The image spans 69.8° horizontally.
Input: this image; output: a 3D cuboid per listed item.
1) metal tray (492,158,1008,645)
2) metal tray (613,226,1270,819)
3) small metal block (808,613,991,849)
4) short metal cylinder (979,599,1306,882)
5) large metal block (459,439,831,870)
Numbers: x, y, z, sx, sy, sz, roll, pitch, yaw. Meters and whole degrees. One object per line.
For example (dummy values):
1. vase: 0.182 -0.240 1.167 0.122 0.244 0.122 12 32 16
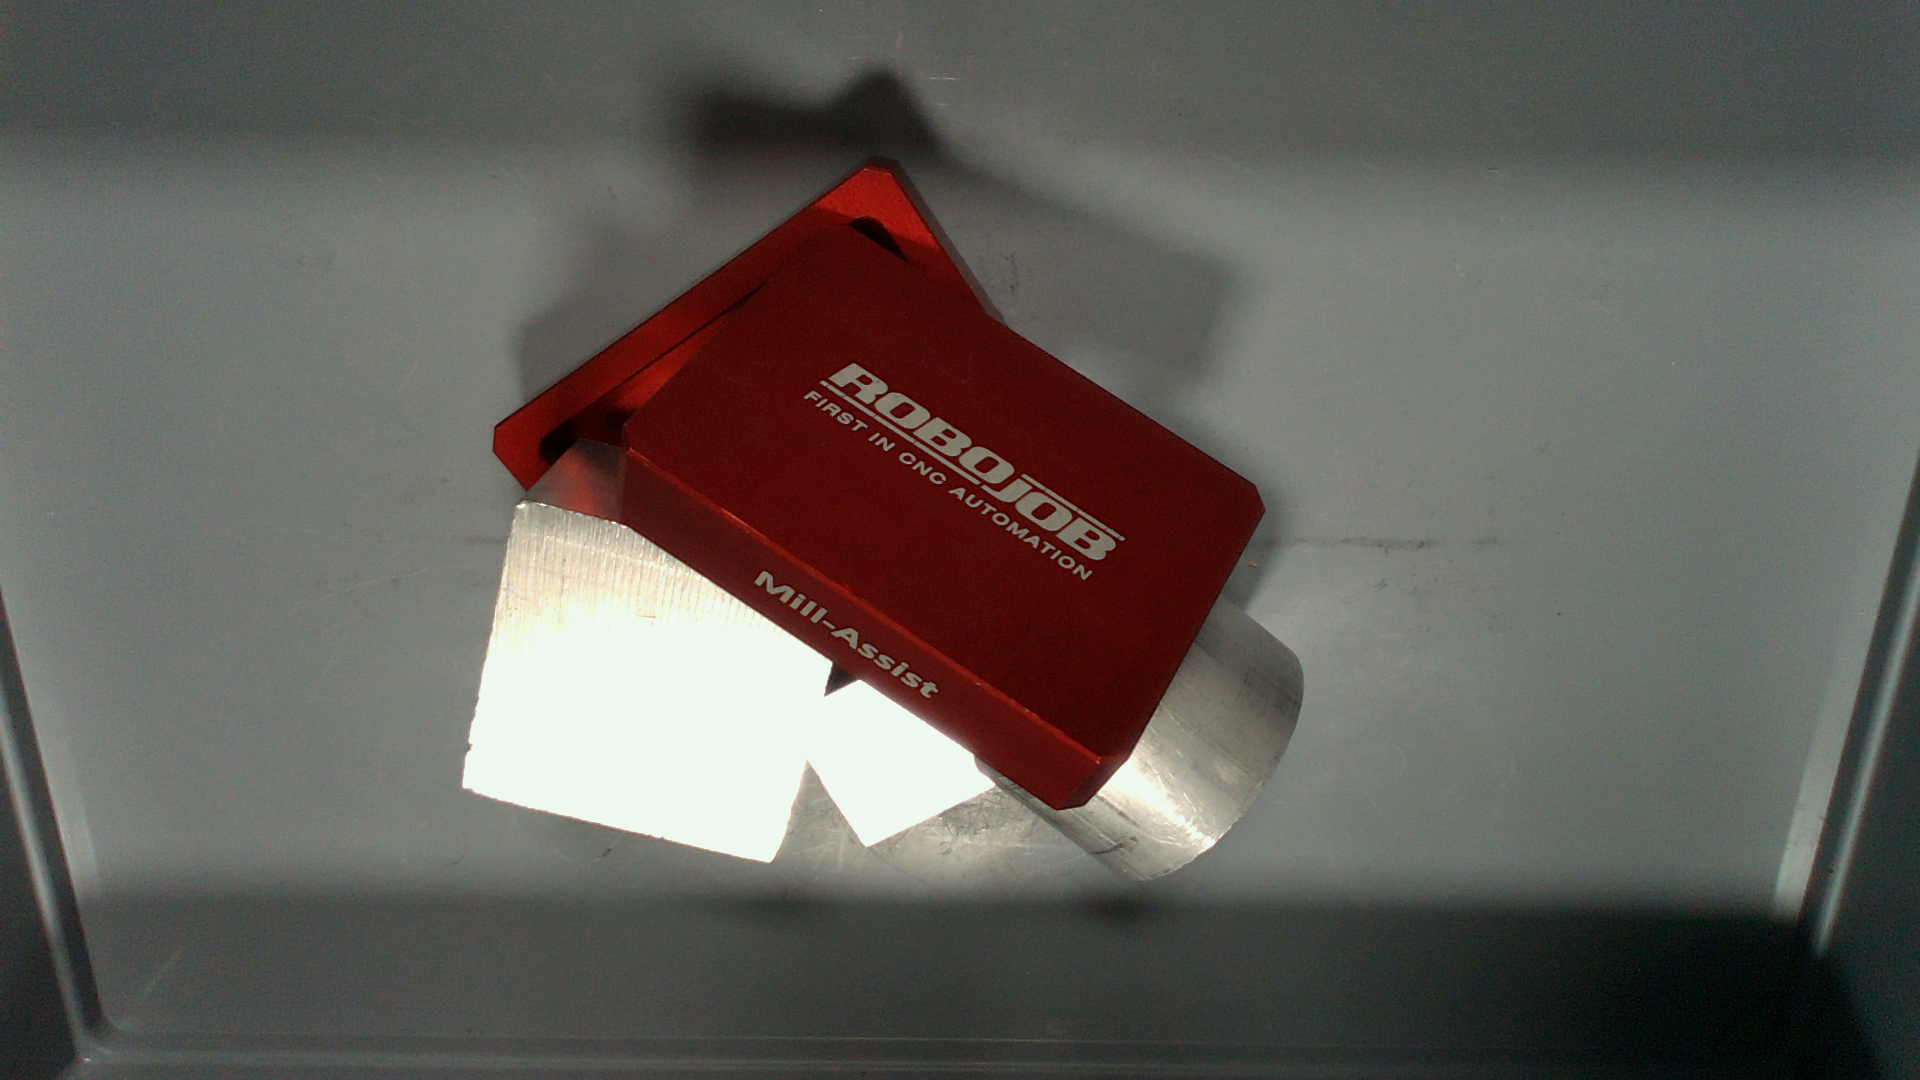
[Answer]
1. metal tray: -0.048 -0.031 0.378 0.130 0.030 0.090 -32 107 11
2. metal tray: -0.003 -0.008 0.324 0.130 0.090 0.030 33 146 3
3. small metal block: -0.019 0.057 0.414 0.050 0.025 0.050 -28 108 10
4. short metal cylinder: 0.049 0.046 0.381 0.050 0.080 0.080 37 106 -13
5. large metal block: -0.075 0.029 0.356 0.080 0.050 0.080 15 109 -6
